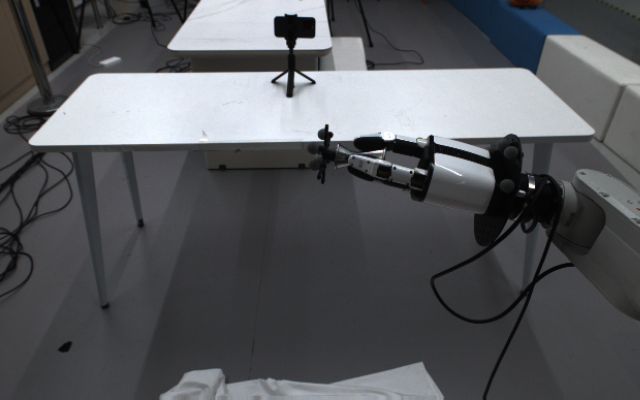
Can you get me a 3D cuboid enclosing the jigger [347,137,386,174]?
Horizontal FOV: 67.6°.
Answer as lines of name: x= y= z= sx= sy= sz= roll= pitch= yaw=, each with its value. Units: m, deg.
jigger: x=0.064 y=-0.063 z=0.688 sx=0.071 sy=0.043 sz=0.043 roll=7 pitch=35 yaw=8
